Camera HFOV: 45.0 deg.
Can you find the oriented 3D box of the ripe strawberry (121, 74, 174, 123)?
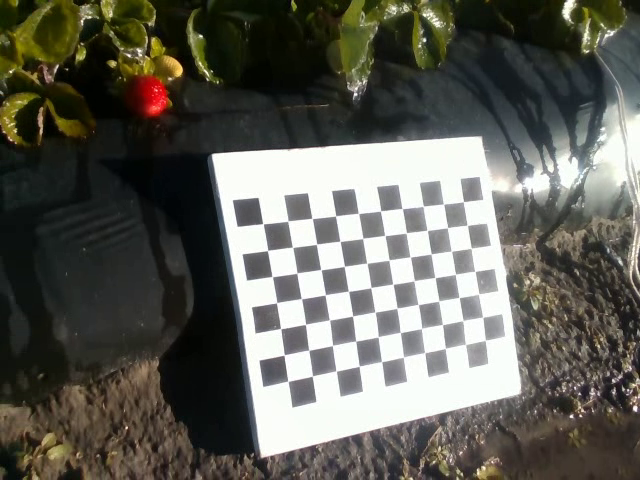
[{"bbox_3d":[-0.110,-0.094,0.517,0.039,0.040,0.039,-18,26,-16],"label":"ripe strawberry"}]
